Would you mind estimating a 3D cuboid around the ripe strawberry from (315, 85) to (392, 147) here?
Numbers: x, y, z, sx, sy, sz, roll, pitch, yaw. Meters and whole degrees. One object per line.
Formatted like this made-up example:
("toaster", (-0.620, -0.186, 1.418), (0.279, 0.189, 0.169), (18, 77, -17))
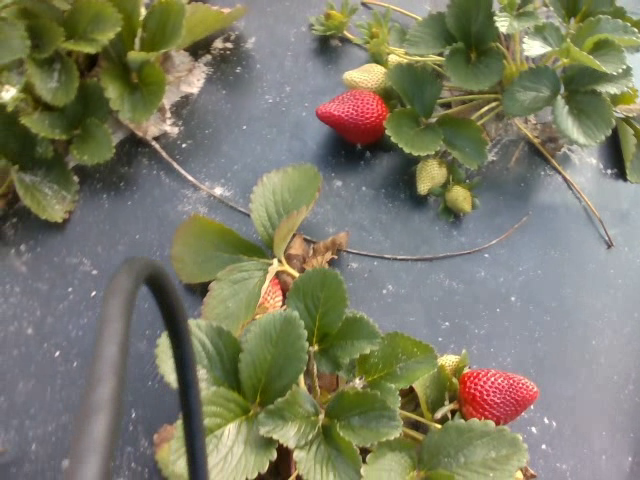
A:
("ripe strawberry", (0.018, -0.098, 0.514), (0.055, 0.048, 0.051), (2, 20, -33))
